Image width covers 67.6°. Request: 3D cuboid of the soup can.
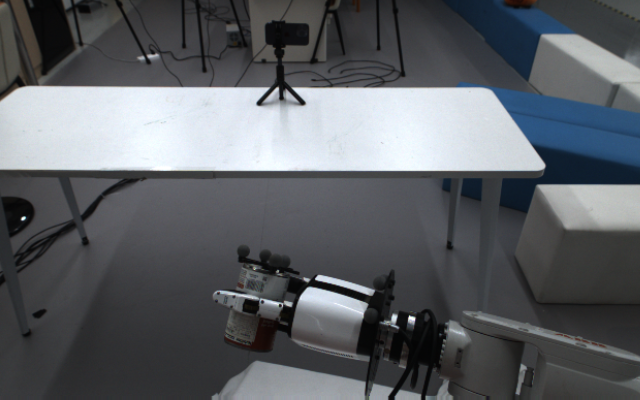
[{"bbox_3d":[-0.081,0.142,0.638,0.067,0.101,0.067,13,-6,1],"label":"soup can"}]
